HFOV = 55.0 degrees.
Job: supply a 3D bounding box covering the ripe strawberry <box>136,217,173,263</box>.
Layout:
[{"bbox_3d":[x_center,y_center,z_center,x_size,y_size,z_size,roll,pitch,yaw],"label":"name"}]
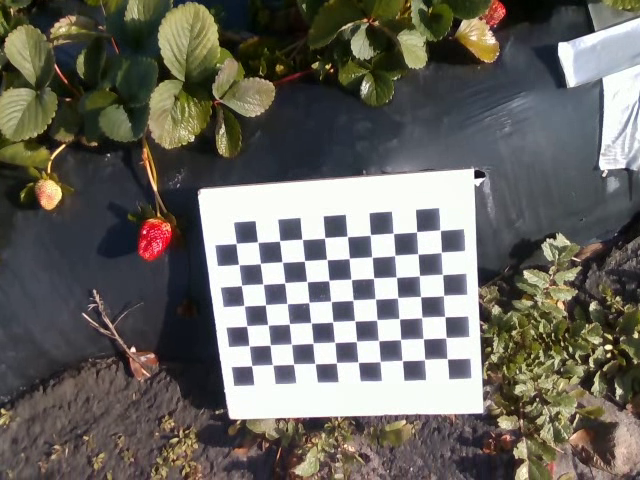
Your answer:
[{"bbox_3d":[-0.065,-0.001,0.232,0.015,0.023,0.015,4,-36,4],"label":"ripe strawberry"}]
